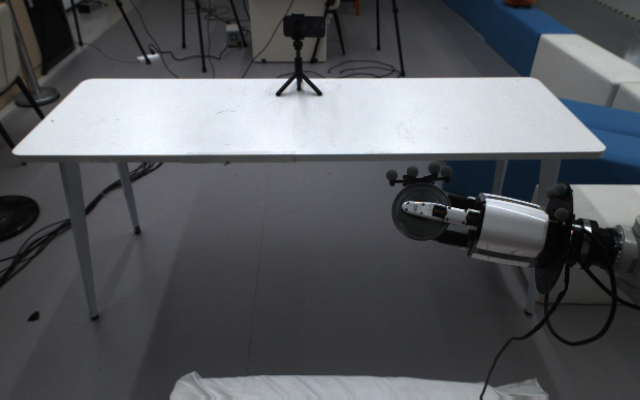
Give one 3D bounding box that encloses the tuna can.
[{"bbox_3d":[0.149,0.017,0.710,0.085,0.085,0.034,11,-9,13],"label":"tuna can"}]
